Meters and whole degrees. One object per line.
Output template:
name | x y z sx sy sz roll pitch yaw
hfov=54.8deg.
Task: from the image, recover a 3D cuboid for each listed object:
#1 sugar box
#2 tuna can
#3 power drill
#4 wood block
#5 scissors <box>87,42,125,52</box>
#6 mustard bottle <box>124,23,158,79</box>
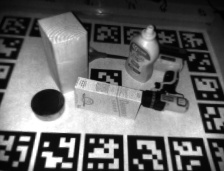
sugar box | -0.013 0.026 0.598 0.176 0.093 0.045 14 54 0
tuna can | -0.180 0.035 0.599 0.086 0.034 0.085 4 58 -6
power drill | 0.130 -0.029 0.670 0.184 0.057 0.187 15 64 3
wood block | -0.130 -0.092 0.599 0.091 0.207 0.089 -22 63 -18
scissors | -0.055 -0.125 0.731 0.203 0.016 0.087 6 53 -4
mustard bottle | 0.089 -0.107 0.644 0.059 0.192 0.095 -34 67 -23
